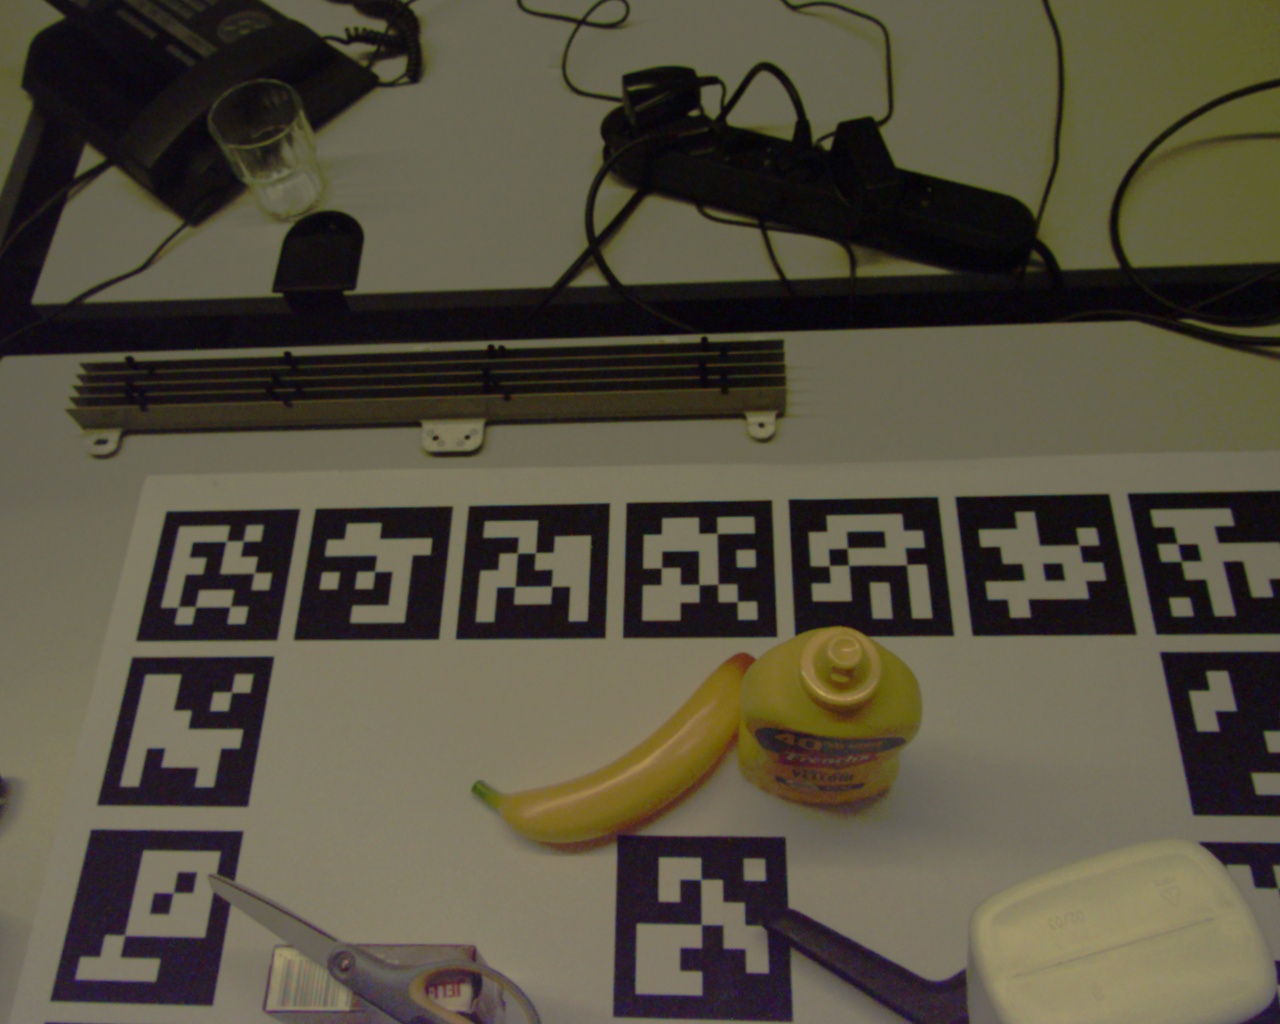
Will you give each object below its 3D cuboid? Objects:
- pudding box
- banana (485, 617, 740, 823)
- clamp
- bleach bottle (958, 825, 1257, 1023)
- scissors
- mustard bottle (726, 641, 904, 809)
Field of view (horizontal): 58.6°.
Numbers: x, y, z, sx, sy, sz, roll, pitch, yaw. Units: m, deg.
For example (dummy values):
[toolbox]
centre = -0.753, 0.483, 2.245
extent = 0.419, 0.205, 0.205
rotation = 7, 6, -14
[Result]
[pudding box]
centre = -0.140, 0.267, 0.653
extent = 0.114, 0.089, 0.039
rotation = 3, 56, 6
[banana]
centre = -0.003, 0.139, 0.728
extent = 0.196, 0.038, 0.075
rotation = -37, 48, -13
[clamp]
centre = 0.175, 0.283, 0.625
extent = 0.203, 0.036, 0.166
rotation = -7, 64, 1
[bleach bottle]
centre = 0.203, 0.220, 0.537
extent = 0.103, 0.248, 0.068
rotation = -21, 58, 2
[scissors]
centre = -0.154, 0.231, 0.601
extent = 0.204, 0.016, 0.087
rotation = 23, 71, 12
[mustard bottle]
centre = 0.100, 0.119, 0.654
extent = 0.097, 0.190, 0.058
rotation = 12, 64, 10
